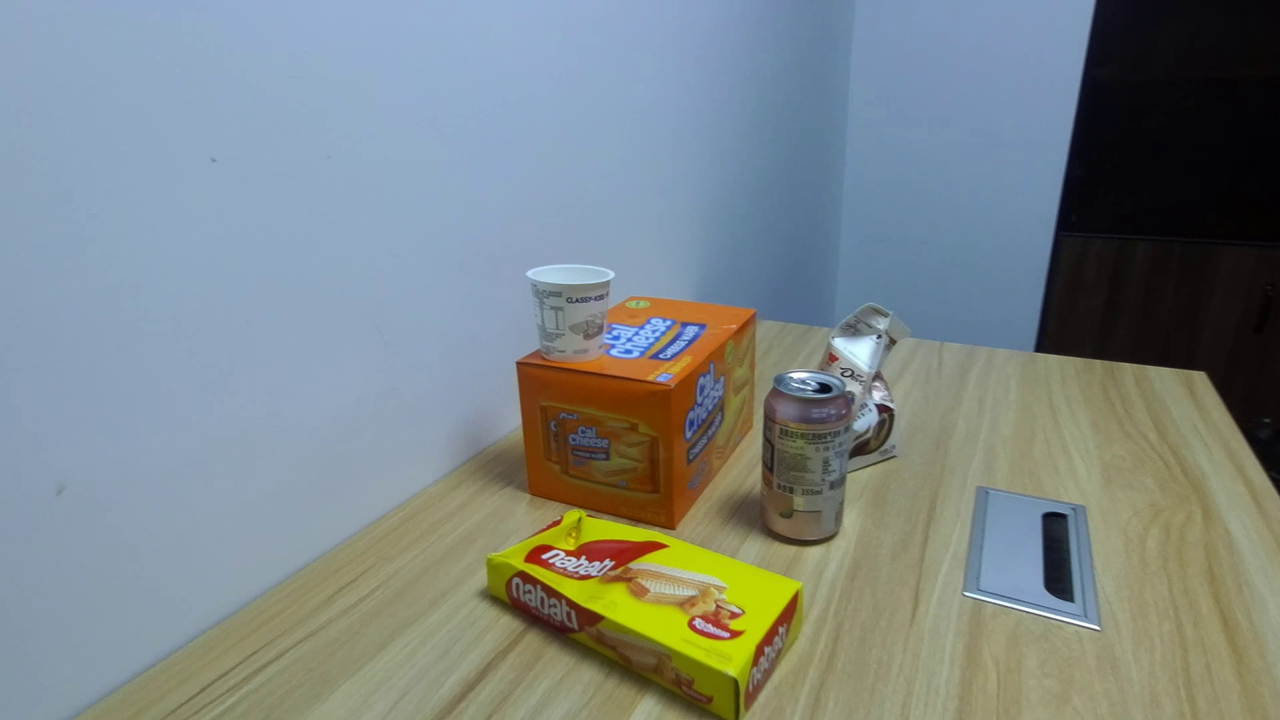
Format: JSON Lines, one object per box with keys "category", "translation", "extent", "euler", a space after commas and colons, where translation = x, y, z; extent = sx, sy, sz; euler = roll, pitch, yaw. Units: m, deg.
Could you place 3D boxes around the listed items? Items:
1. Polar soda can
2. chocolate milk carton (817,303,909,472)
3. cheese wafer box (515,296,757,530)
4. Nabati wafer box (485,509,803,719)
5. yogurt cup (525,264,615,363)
{"category": "Polar soda can", "translation": [0.128, 0.075, 0.551], "extent": [0.067, 0.125, 0.067], "euler": [-2, 19, 1]}
{"category": "chocolate milk carton", "translation": [0.208, 0.022, 0.665], "extent": [0.090, 0.155, 0.076], "euler": [3, 18, -35]}
{"category": "cheese wafer box", "translation": [0.009, 0.035, 0.664], "extent": [0.147, 0.129, 0.222], "euler": [9, 23, 24]}
{"category": "Nabati wafer box", "translation": [-0.002, 0.153, 0.470], "extent": [0.202, 0.042, 0.097], "euler": [13, 27, 35]}
{"category": "yogurt cup", "translation": [-0.057, -0.038, 0.586], "extent": [0.072, 0.068, 0.072], "euler": [2, 20, 0]}
